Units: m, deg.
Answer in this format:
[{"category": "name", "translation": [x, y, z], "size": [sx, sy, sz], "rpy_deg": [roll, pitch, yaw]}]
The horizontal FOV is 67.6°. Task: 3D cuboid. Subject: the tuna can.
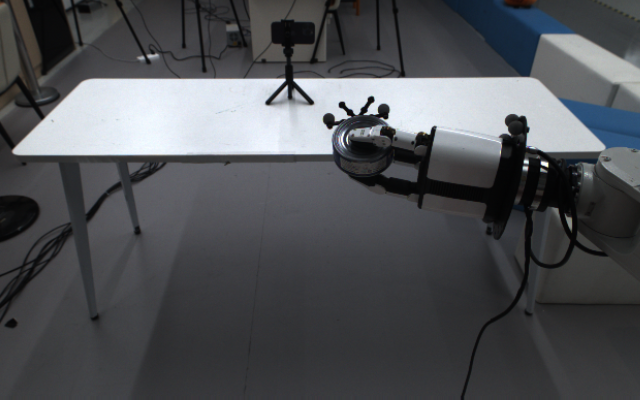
[{"category": "tuna can", "translation": [0.064, -0.069, 0.662], "size": [0.085, 0.034, 0.085], "rpy_deg": [-3, 59, 5]}]
